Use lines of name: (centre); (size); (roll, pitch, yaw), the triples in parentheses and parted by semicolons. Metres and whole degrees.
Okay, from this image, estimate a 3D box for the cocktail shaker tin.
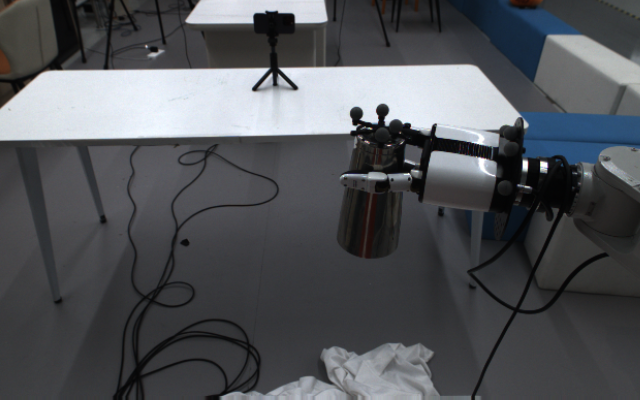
cocktail shaker tin: (0.077, -0.017, 0.679); (0.093, 0.170, 0.093); (3, 33, -2)
